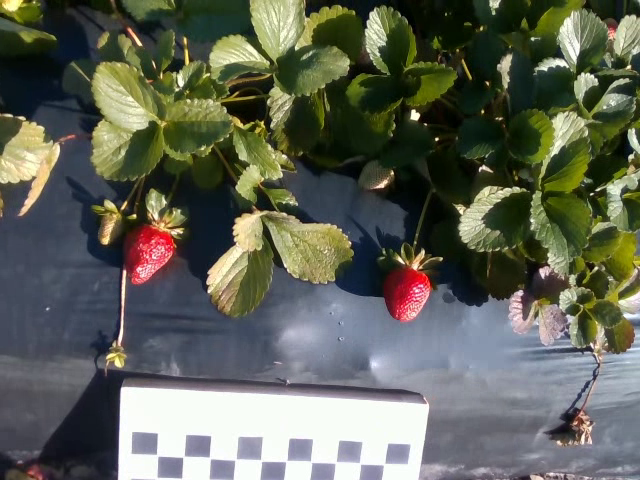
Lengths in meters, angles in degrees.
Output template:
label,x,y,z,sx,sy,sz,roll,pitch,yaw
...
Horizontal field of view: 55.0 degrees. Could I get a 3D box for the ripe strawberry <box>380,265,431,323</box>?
label,x,y,z,sx,sy,sz,roll,pitch,yaw
ripe strawberry,0.068,0.047,0.487,0.042,0.050,0.043,40,-39,-18

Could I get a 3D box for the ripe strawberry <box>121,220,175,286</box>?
label,x,y,z,sx,sy,sz,roll,pitch,yaw
ripe strawberry,-0.135,0.012,0.466,0.041,0.053,0.043,16,-30,-13
